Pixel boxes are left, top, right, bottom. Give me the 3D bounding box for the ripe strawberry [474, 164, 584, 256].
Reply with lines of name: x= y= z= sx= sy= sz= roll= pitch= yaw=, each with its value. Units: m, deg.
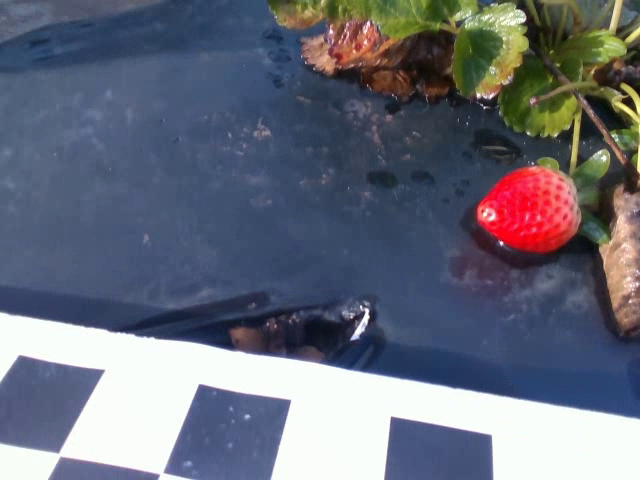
ripe strawberry: x=0.069 y=-0.011 z=0.216 sx=0.043 sy=0.030 sz=0.035 roll=-15 pitch=46 yaw=-23
